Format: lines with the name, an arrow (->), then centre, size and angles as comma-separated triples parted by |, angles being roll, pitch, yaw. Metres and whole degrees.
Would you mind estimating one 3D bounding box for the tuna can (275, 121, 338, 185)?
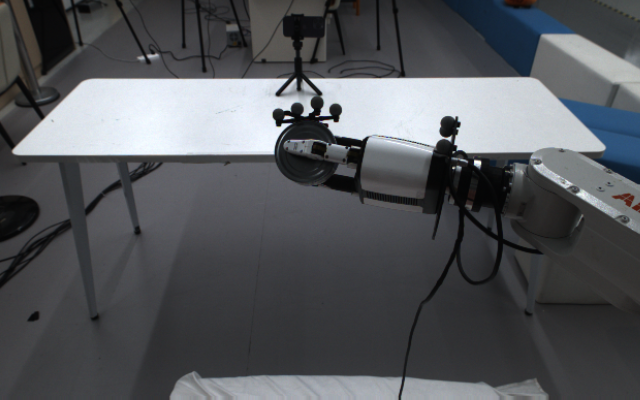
tuna can -> -0.014, -0.058, 0.653 | 0.085, 0.085, 0.034 | 10, -6, 11
